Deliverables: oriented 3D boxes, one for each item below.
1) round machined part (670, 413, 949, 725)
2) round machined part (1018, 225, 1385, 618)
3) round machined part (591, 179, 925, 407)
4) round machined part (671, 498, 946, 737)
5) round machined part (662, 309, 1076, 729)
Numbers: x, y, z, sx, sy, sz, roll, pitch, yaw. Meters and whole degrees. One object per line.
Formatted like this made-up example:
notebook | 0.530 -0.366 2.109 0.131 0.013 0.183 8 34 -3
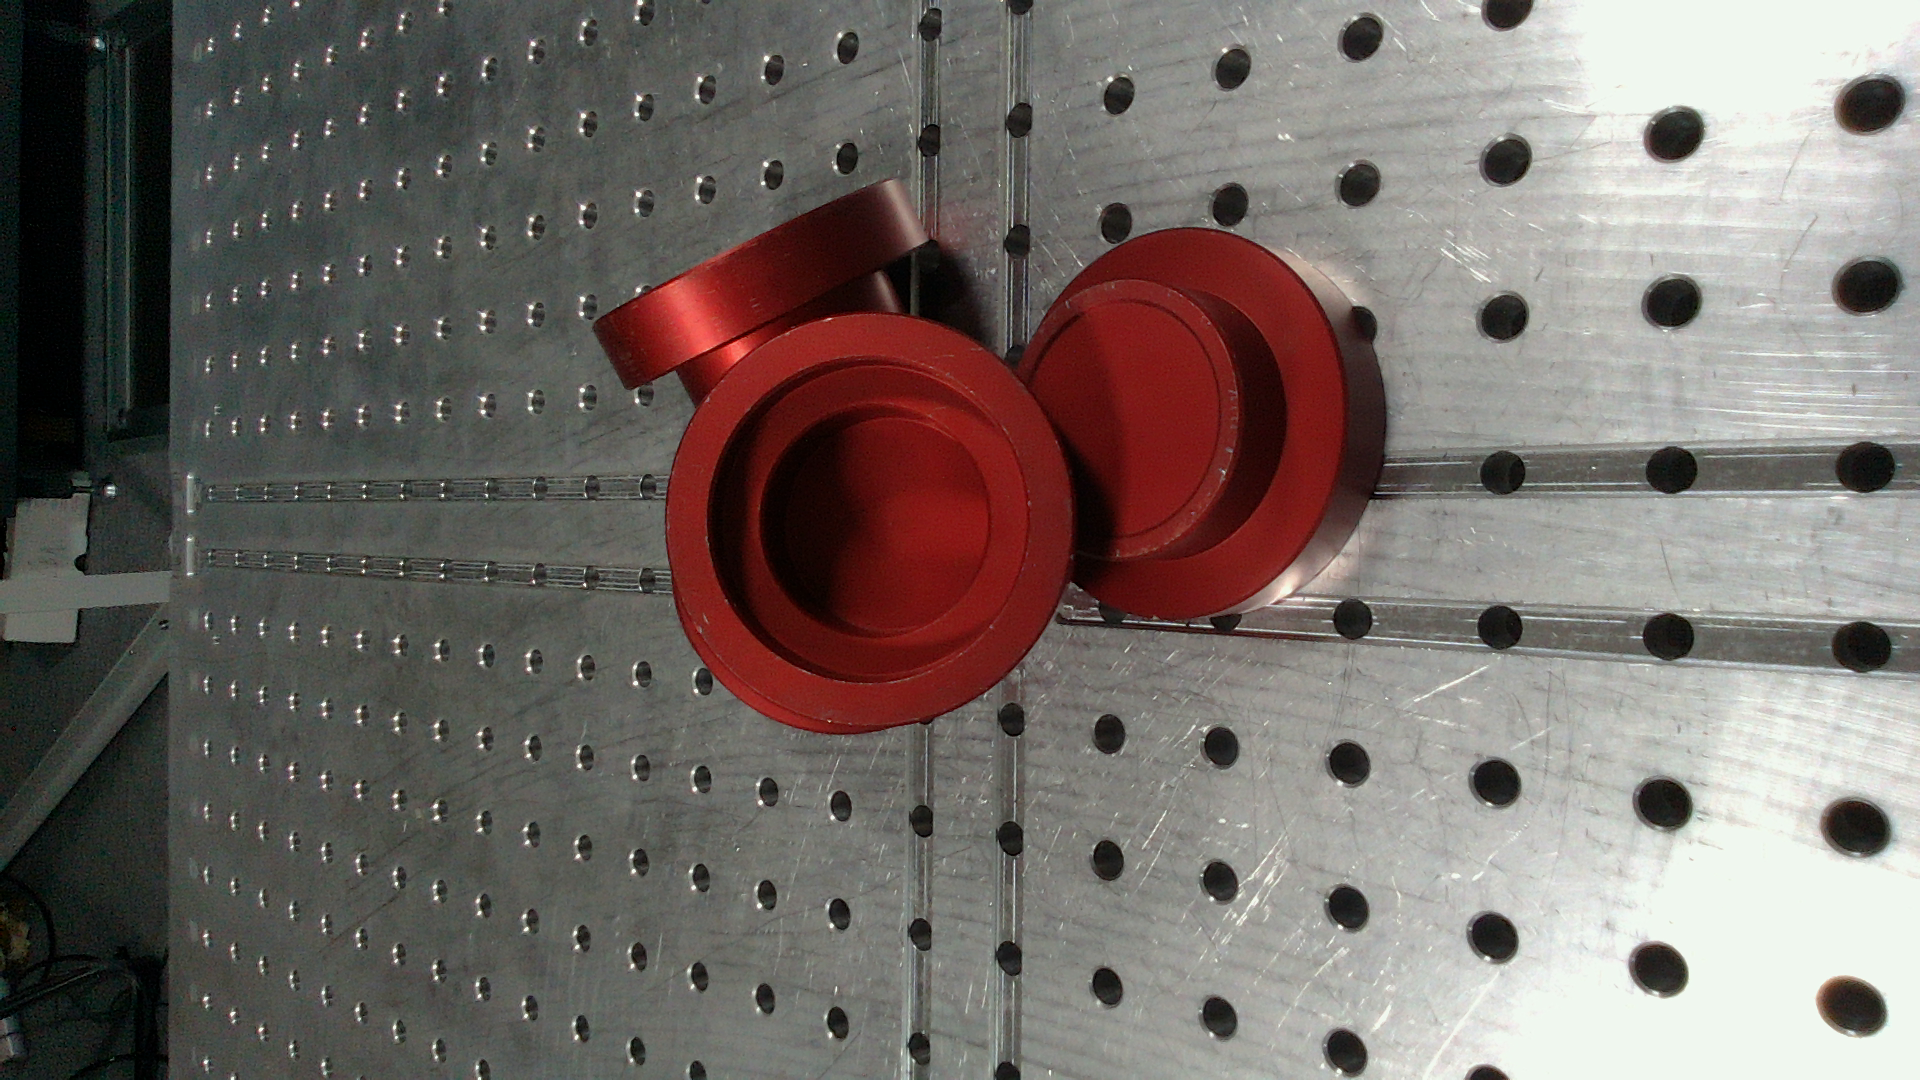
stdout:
round machined part | -0.053 0.009 0.432 0.098 0.042 0.098 0 90 40
round machined part | 0.051 -0.029 0.344 0.098 0.042 0.098 0 90 40
round machined part | -0.053 -0.065 0.401 0.098 0.098 0.042 -16 105 39
round machined part | -0.033 0.006 0.383 0.098 0.042 0.098 0 87 3
round machined part | -0.020 -0.005 0.340 0.098 0.042 0.098 0 89 7
